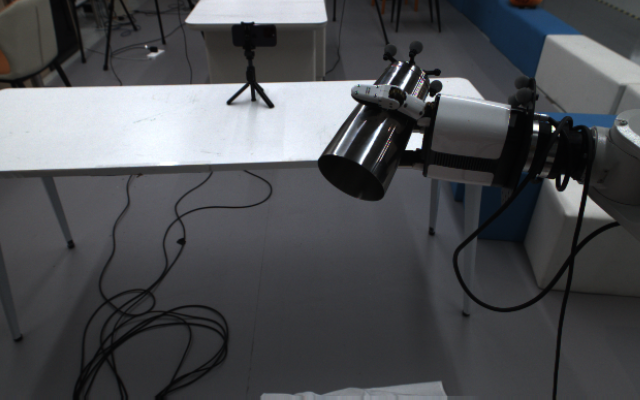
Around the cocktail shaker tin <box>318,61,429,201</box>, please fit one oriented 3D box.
[{"bbox_3d":[0.079,-0.097,0.616,0.093,0.093,0.170,20,67,23],"label":"cocktail shaker tin"}]
